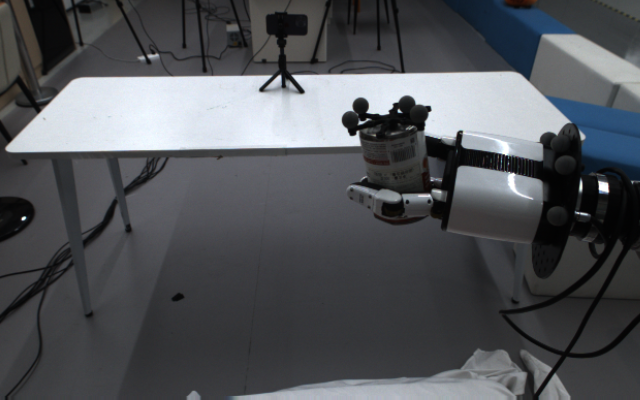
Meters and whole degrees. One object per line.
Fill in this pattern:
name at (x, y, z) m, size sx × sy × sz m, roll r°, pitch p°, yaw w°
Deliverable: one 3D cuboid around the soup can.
soup can at (0.085, -0.033, 0.516) m, size 0.067 × 0.101 × 0.067 m, roll -11°, pitch 27°, yaw 6°
